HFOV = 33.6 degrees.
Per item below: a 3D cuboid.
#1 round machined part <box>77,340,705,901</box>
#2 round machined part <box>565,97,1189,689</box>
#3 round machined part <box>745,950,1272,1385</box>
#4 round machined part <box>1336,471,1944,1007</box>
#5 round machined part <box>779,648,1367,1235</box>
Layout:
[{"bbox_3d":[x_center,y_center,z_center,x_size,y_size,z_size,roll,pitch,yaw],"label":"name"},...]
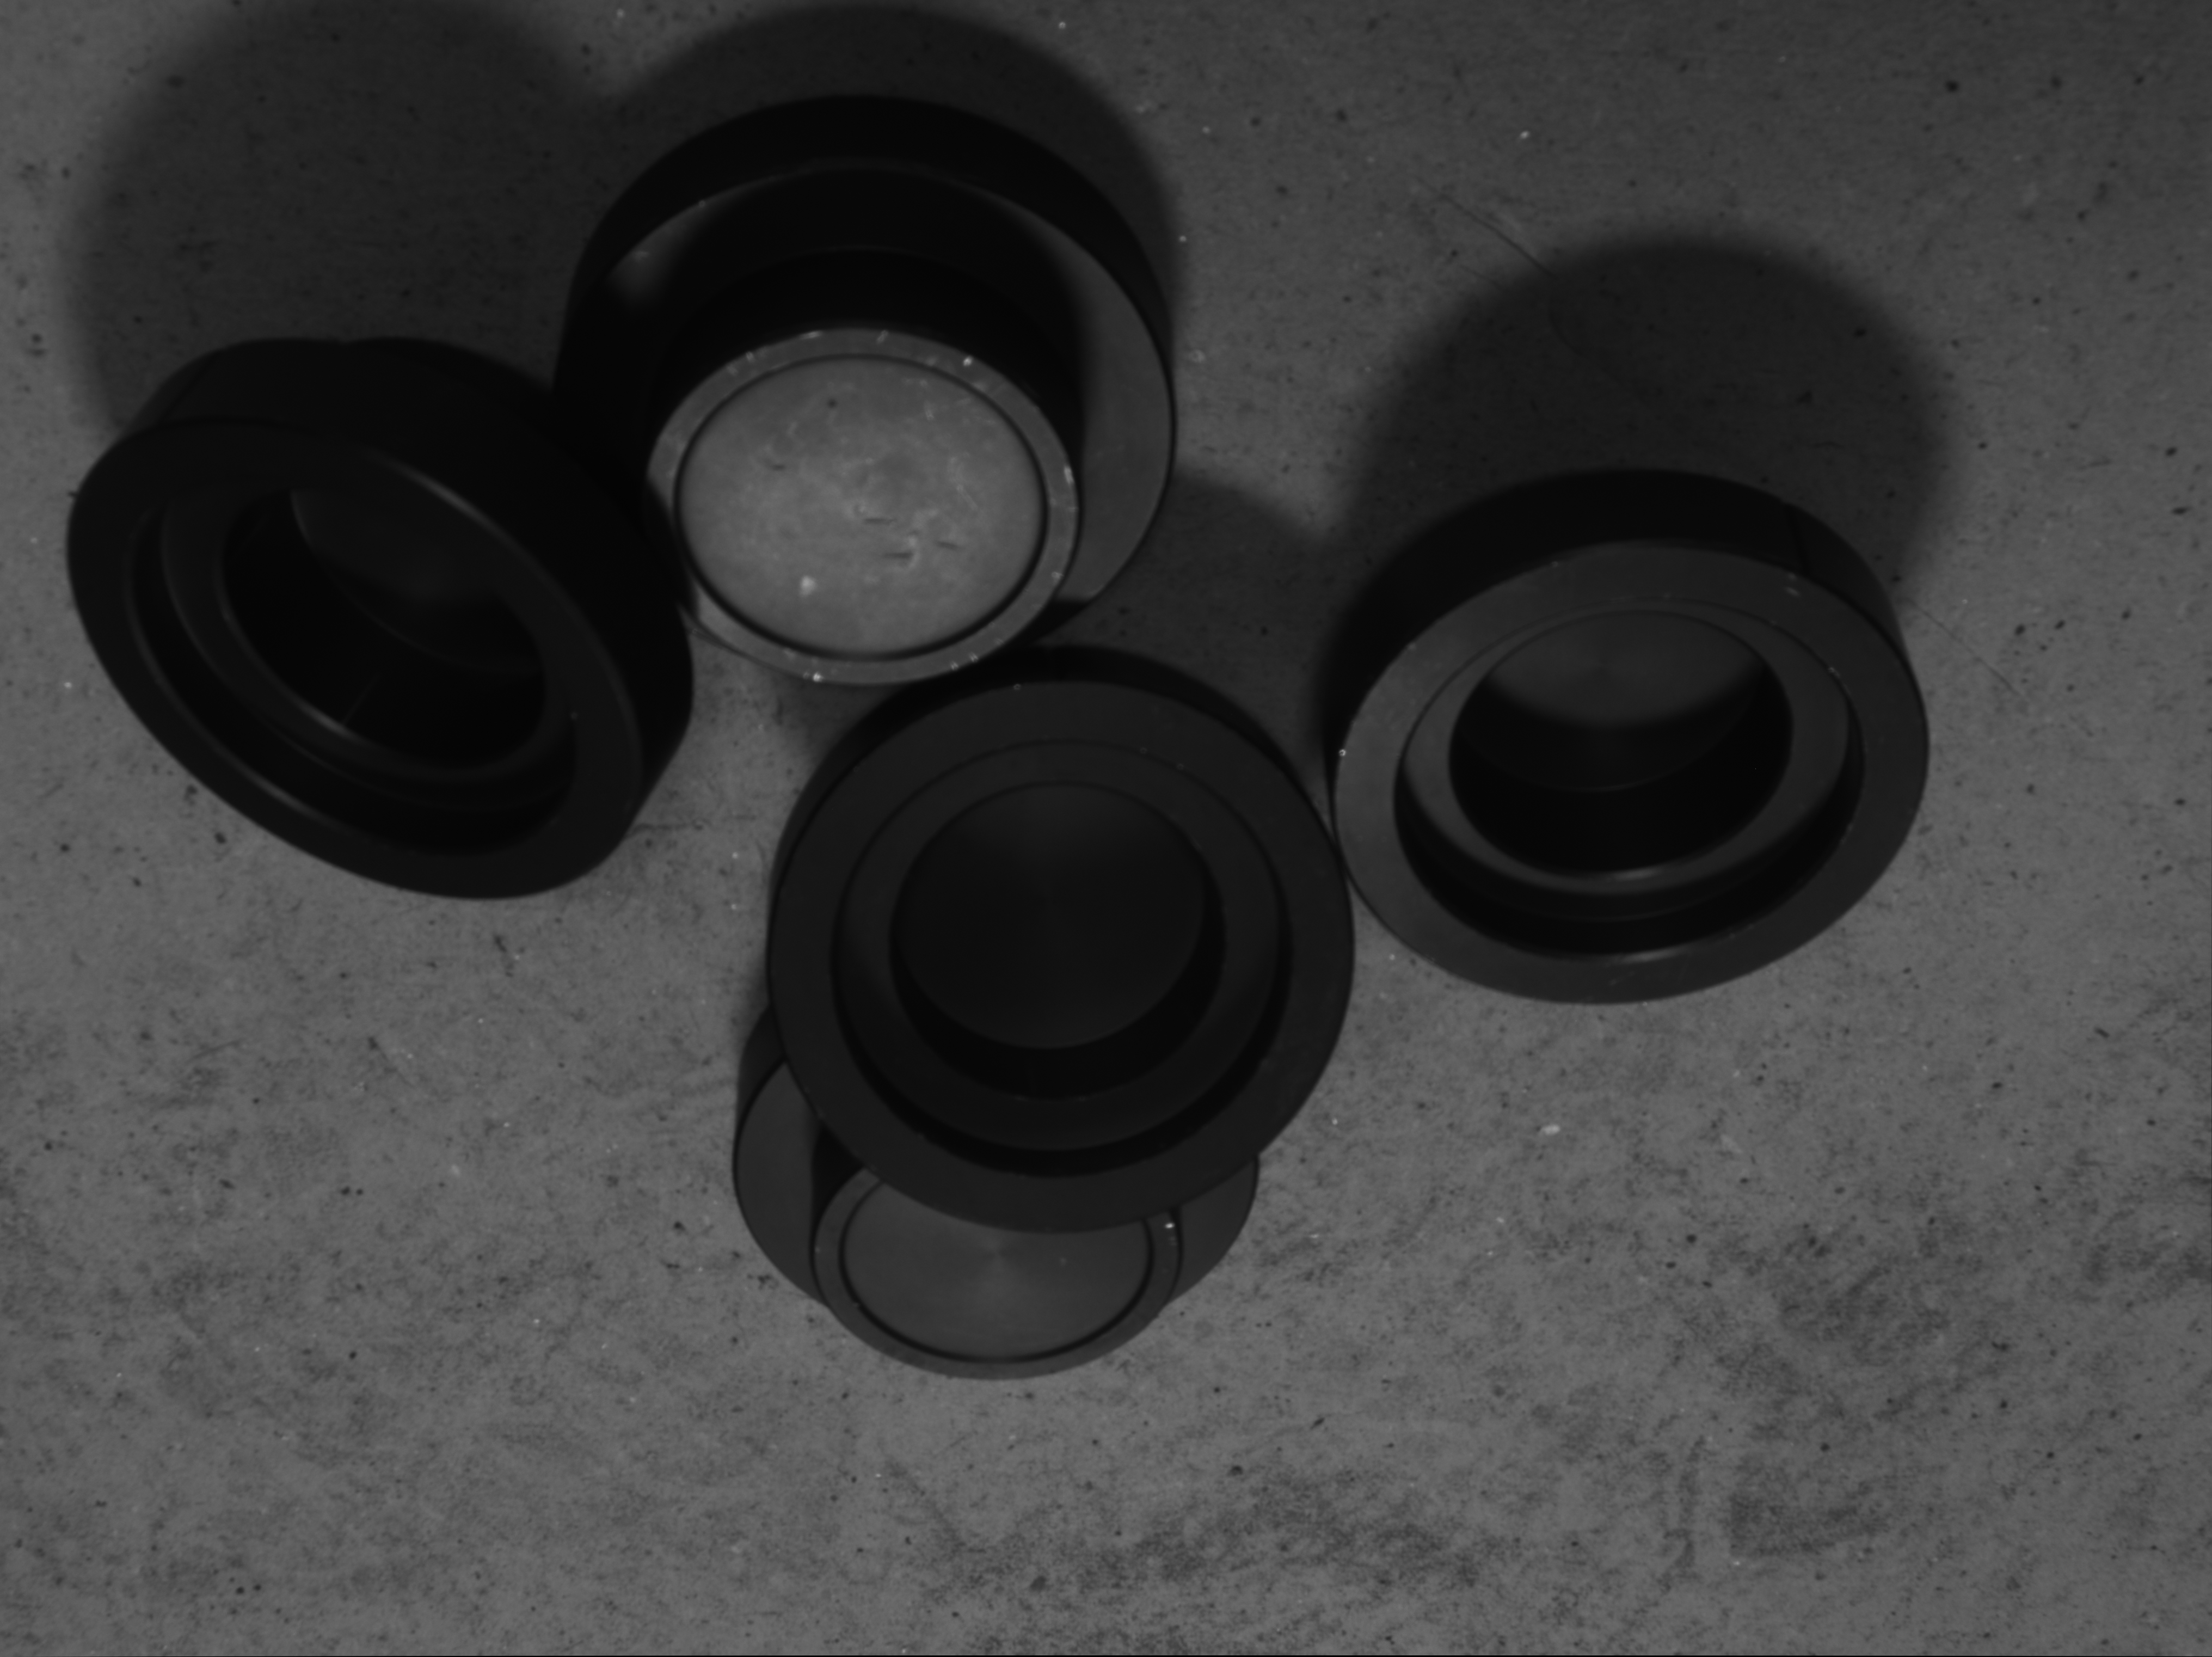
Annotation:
[{"bbox_3d":[-0.108,-0.038,0.578,0.098,0.042,0.098,15,138,14],"label":"round machined part"},{"bbox_3d":[-0.036,-0.061,0.574,0.098,0.042,0.098,-1,130,-1],"label":"round machined part"},{"bbox_3d":[-0.018,0.066,0.681,0.098,0.042,0.098,-1,130,-1],"label":"round machined part"},{"bbox_3d":[0.087,-0.020,0.614,0.098,0.042,0.098,-1,130,-1],"label":"round machined part"},{"bbox_3d":[-0.007,0.016,0.627,0.098,0.042,0.098,-1,107,-4],"label":"round machined part"}]
